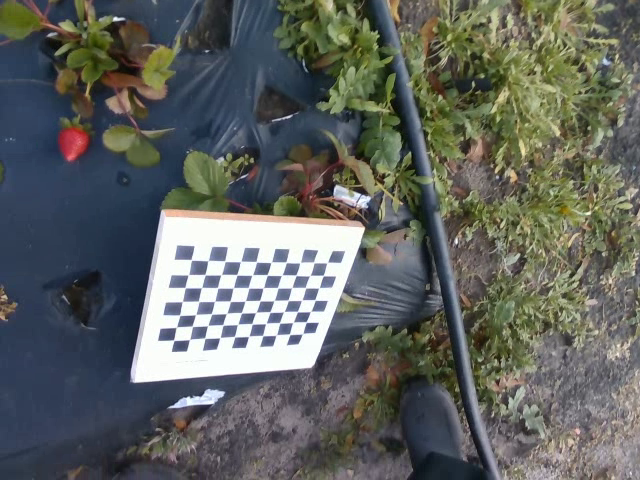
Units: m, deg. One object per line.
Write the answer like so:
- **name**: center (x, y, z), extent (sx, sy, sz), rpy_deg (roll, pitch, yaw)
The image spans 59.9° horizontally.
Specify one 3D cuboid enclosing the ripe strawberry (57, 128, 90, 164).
- **ripe strawberry**: center (-0.299, -0.110, 0.664), extent (0.042, 0.052, 0.045), rpy_deg (-12, -25, 37)
